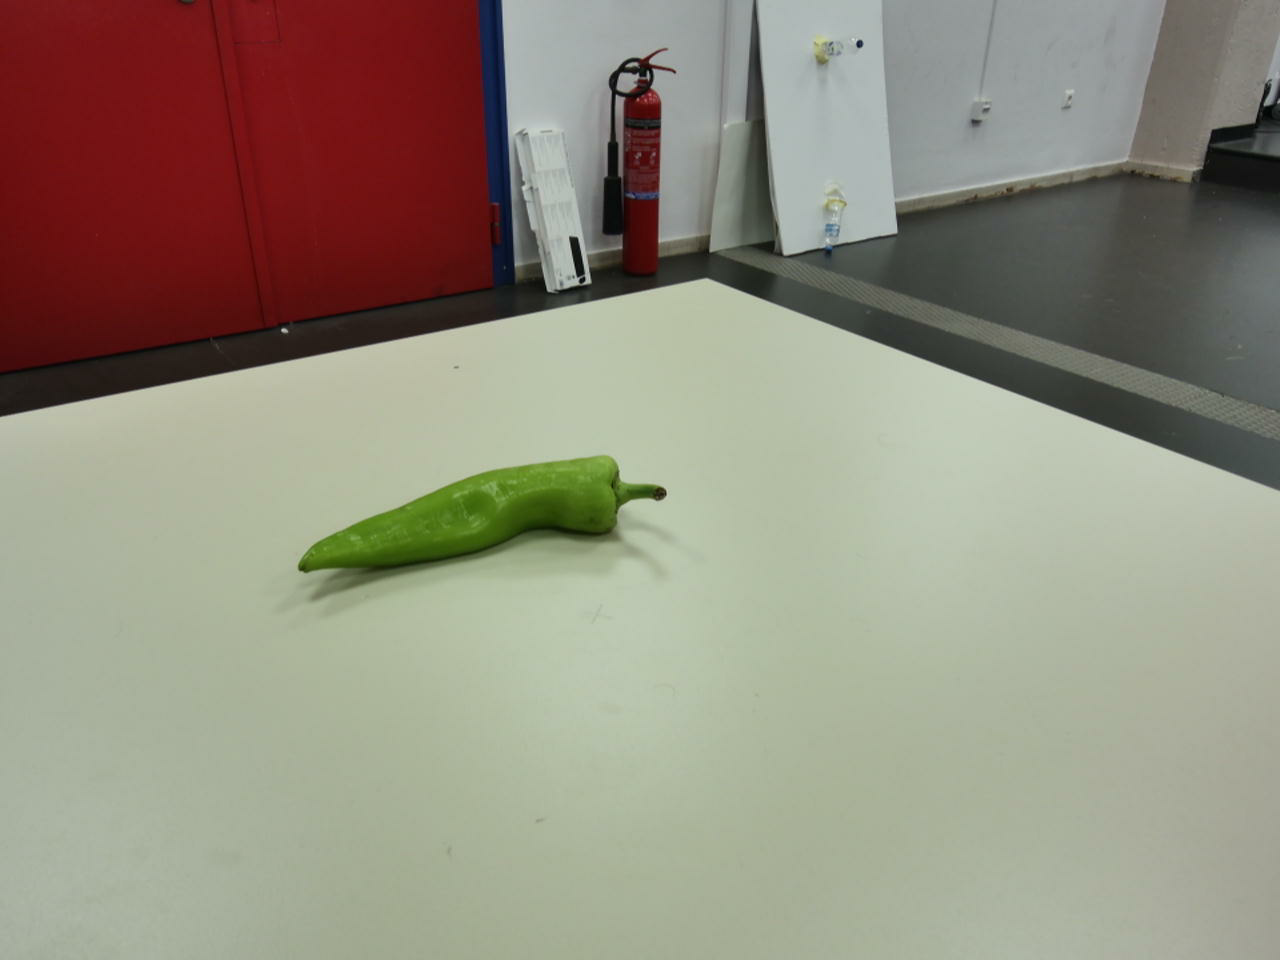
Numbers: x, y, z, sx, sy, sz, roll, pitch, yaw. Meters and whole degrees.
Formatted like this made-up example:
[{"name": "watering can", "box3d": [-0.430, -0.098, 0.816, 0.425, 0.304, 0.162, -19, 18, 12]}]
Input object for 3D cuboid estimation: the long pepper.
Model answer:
[{"name": "long pepper", "box3d": [-0.090, 0.019, 0.572, 0.204, 0.045, 0.065, -9, 27, -19]}]
